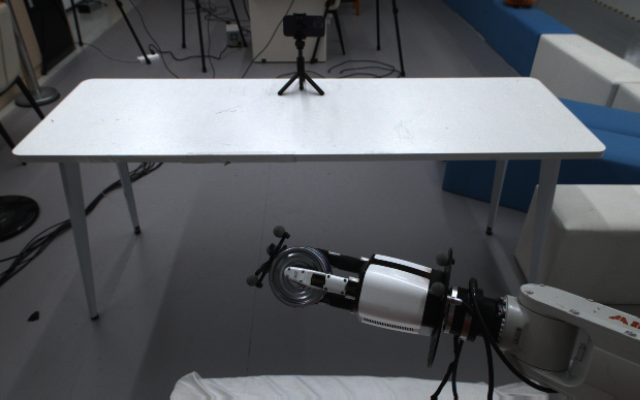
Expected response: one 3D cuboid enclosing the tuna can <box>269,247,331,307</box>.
[{"bbox_3d":[-0.024,0.111,0.675,0.085,0.085,0.034,9,-4,10],"label":"tuna can"}]
